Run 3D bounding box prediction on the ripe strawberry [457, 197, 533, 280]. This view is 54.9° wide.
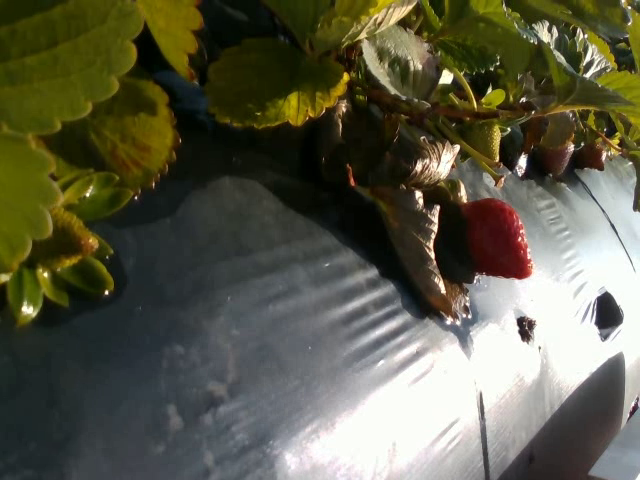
[{"bbox_3d":[0.076,0.007,0.251,0.037,0.054,0.046,-43,-37,18],"label":"ripe strawberry"}]
